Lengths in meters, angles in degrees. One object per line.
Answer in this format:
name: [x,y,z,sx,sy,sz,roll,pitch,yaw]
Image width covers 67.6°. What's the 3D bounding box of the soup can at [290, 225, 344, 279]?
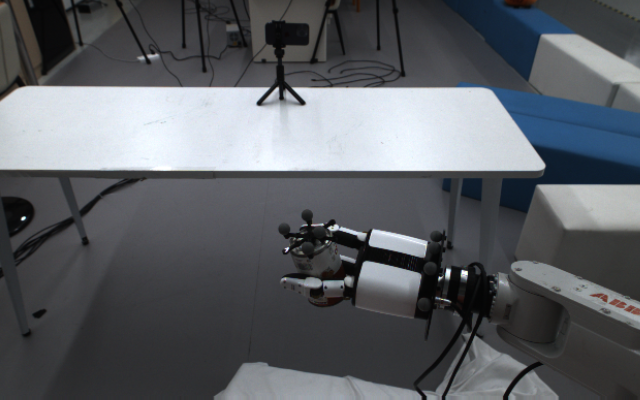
soup can: [0.002,0.098,0.708,0.067,0.101,0.067,-14,31,8]
